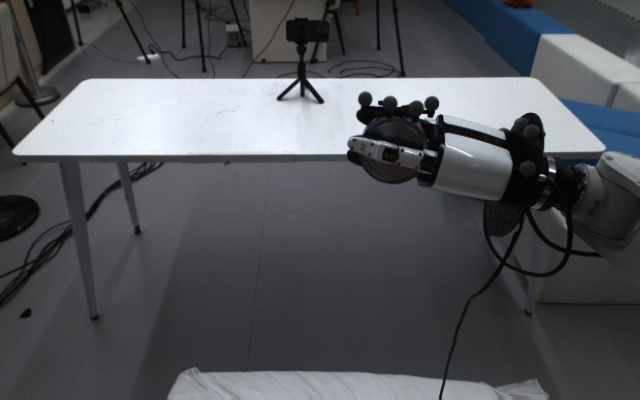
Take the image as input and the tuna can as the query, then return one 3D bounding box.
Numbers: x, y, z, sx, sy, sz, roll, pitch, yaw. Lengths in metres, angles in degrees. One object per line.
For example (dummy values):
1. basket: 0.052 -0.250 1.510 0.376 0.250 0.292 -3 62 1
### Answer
1. tuna can: 0.093 -0.066 0.609 0.085 0.085 0.034 7 22 7
